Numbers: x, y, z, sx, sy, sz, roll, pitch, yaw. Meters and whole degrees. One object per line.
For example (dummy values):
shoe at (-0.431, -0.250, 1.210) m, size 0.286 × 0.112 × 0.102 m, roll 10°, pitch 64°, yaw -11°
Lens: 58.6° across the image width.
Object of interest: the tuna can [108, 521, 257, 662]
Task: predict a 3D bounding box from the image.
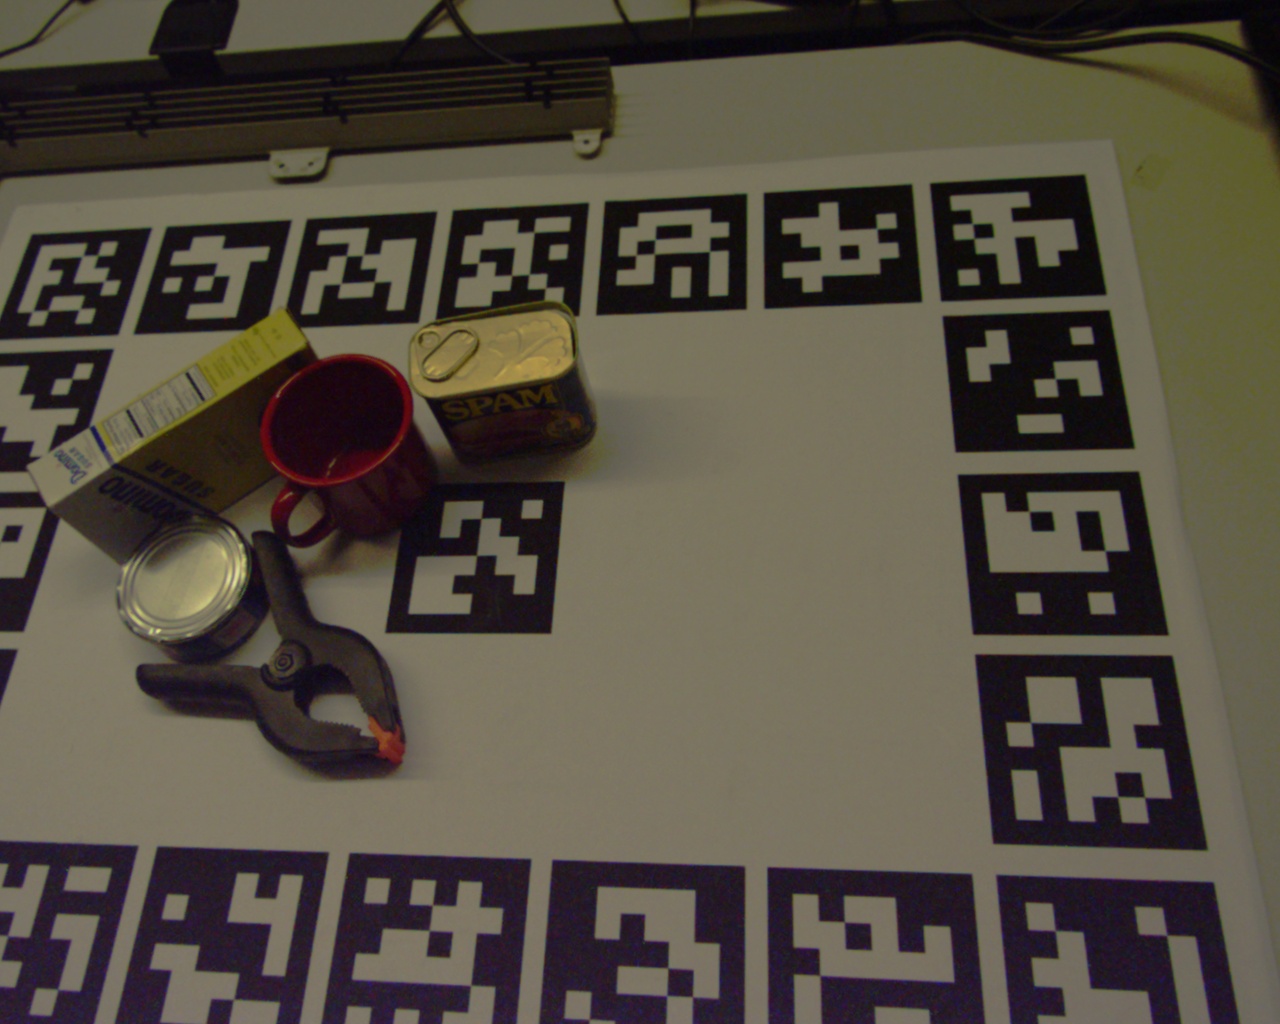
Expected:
tuna can at (-0.289, 0.051, 0.723) m, size 0.086 × 0.033 × 0.086 m, roll -4°, pitch 65°, yaw 7°

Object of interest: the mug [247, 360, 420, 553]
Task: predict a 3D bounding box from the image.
mug at (-0.194, -0.026, 0.718) m, size 0.094 × 0.081 × 0.117 m, roll 23°, pitch 70°, yaw 17°

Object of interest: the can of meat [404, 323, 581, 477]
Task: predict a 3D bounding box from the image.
can of meat at (-0.091, -0.069, 0.733) m, size 0.102 × 0.083 × 0.058 m, roll -8°, pitch 61°, yaw 3°

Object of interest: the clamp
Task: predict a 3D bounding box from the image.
clamp at (-0.214, 0.102, 0.692) m, size 0.166 × 0.036 × 0.121 m, roll 34°, pitch 68°, yaw 18°

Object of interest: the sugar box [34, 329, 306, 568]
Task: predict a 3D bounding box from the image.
sugar box at (-0.285, -0.037, 0.741) m, size 0.176 × 0.092 × 0.046 m, roll -34°, pitch 63°, yaw -11°
